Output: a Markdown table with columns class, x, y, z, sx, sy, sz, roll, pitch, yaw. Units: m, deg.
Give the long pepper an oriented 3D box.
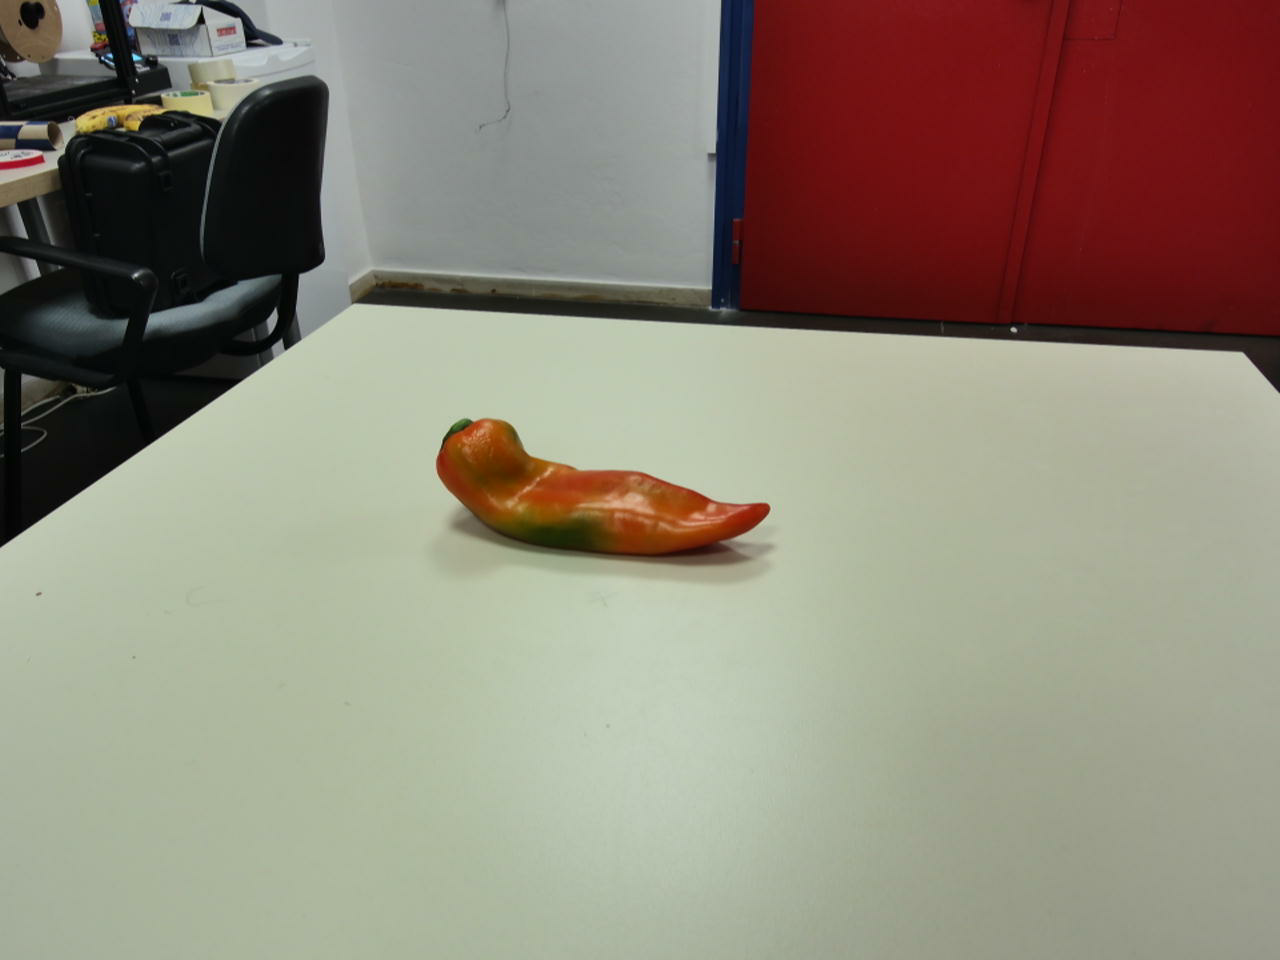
| class | x | y | z | sx | sy | sz | roll | pitch | yaw |
| --- | --- | --- | --- | --- | --- | --- | --- | --- | --- |
| long pepper | -0.025 | 0.003 | 0.587 | 0.199 | 0.065 | 0.066 | 8 | 27 | 16 |
